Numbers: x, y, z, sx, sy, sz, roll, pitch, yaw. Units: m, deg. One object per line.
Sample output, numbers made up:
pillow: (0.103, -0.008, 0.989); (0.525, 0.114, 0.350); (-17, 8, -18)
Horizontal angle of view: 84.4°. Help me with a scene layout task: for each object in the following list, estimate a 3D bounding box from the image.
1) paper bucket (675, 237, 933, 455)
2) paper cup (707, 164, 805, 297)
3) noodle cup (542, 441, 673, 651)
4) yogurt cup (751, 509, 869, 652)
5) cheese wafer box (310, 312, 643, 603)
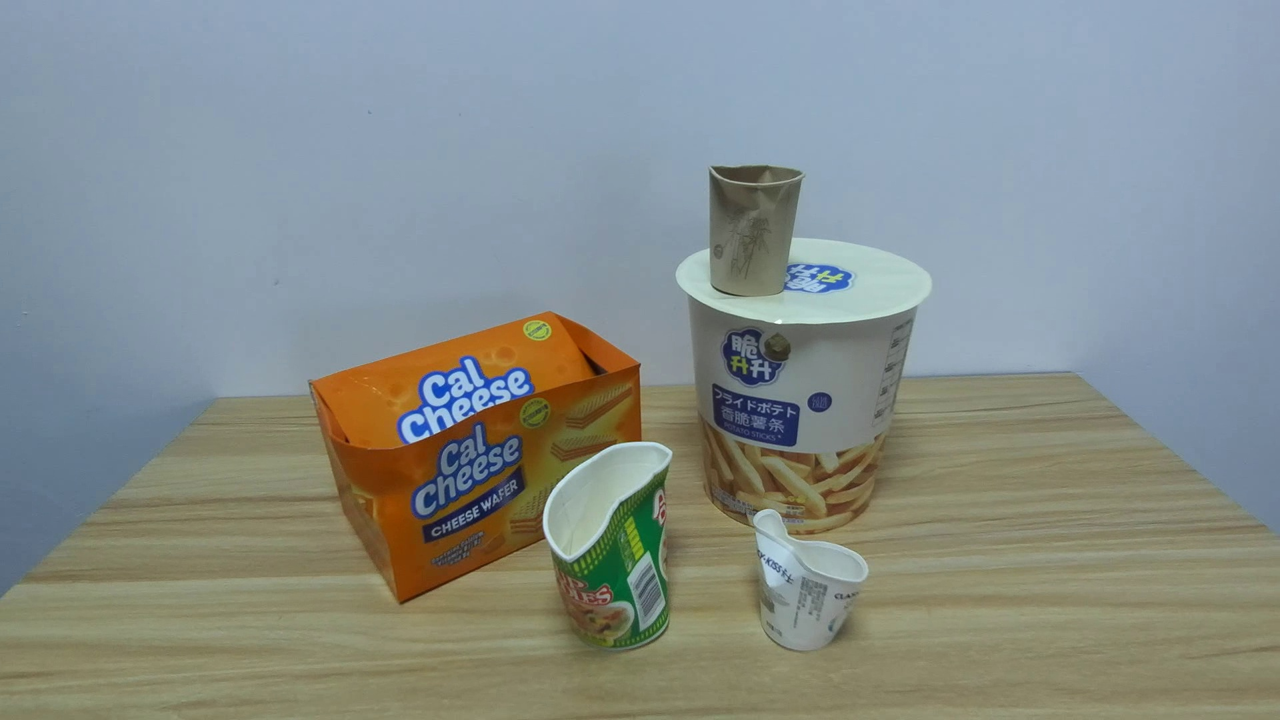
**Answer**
paper bucket: (0.124, 0.020, 0.581); (0.198, 0.195, 0.198); (-1, 27, 1)
paper cup: (0.083, -0.092, 0.501); (0.072, 0.084, 0.066); (-12, 27, -28)
noodle cup: (-0.015, 0.126, 0.465); (0.115, 0.111, 0.070); (-21, 34, -35)
yogurt cup: (0.108, 0.145, 0.463); (0.075, 0.071, 0.054); (8, 29, 21)
cheese wafer box: (-0.129, 0.068, 0.581); (0.231, 0.132, 0.151); (-18, 32, -31)
